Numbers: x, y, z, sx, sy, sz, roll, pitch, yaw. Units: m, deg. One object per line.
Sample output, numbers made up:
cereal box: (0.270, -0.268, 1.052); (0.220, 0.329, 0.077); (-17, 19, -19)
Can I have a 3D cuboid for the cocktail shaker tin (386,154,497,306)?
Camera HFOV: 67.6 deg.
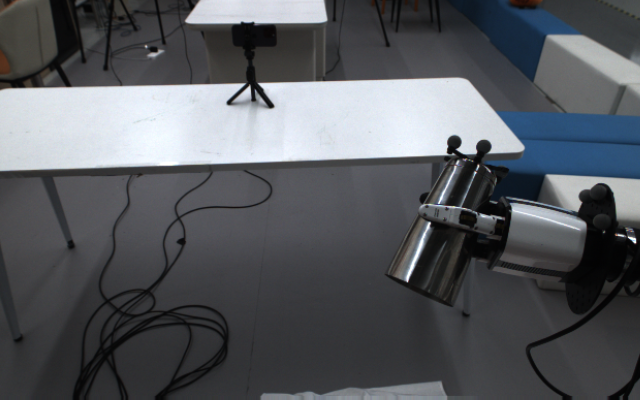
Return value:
cocktail shaker tin: (0.161, 0.034, 0.610); (0.093, 0.093, 0.170); (21, 81, 25)
